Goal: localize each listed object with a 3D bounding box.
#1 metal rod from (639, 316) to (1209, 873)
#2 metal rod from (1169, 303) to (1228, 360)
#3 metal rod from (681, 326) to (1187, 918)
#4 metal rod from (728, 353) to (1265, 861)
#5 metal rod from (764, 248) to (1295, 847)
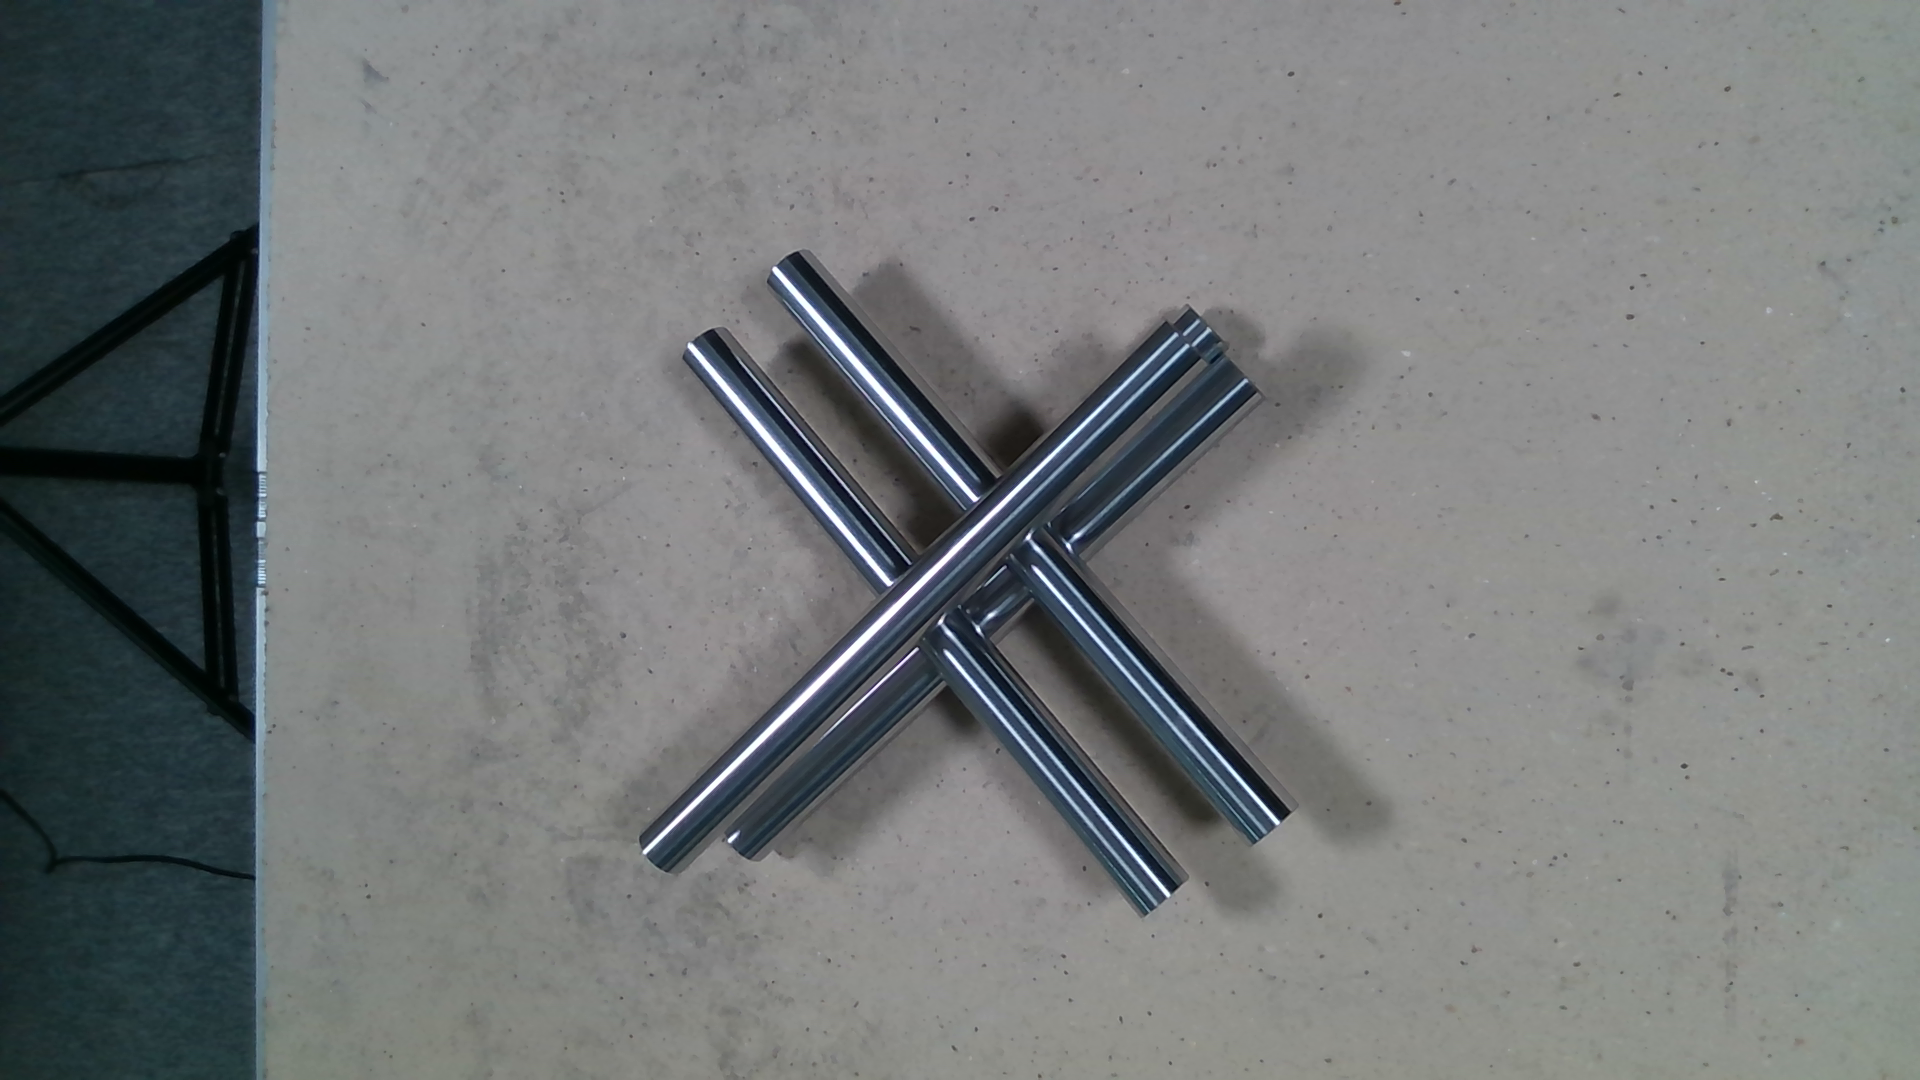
[{"bbox_3d":[-0.022,0.028,0.540,0.300,0.025,0.025,-44,76,15],"label":"metal rod"},{"bbox_3d":[-0.006,0.014,0.588,0.300,0.025,0.025,-44,76,15],"label":"metal rod"},{"bbox_3d":[-0.016,0.027,0.565,0.025,0.025,0.300,-44,76,15],"label":"metal rod"},{"bbox_3d":[0.007,0.035,0.583,0.300,0.025,0.025,-44,76,15],"label":"metal rod"},{"bbox_3d":[0.022,-0.004,0.551,0.025,0.025,0.300,-44,76,15],"label":"metal rod"}]
